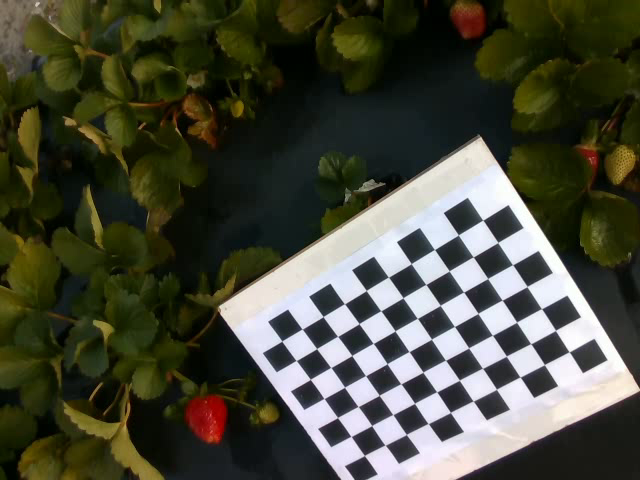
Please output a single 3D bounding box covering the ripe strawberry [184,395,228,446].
[{"bbox_3d":[-0.114,0.191,0.587,0.052,0.043,0.057,19,23,-28],"label":"ripe strawberry"}]
